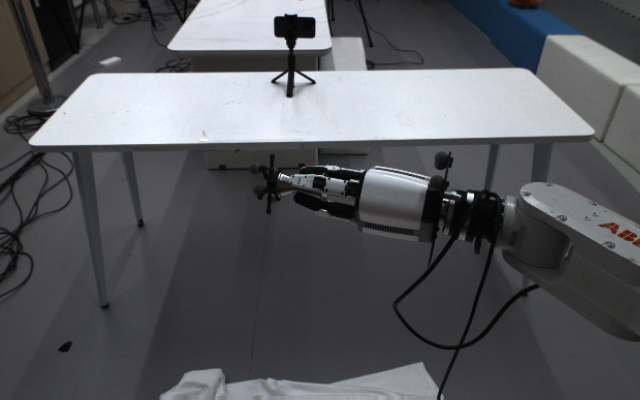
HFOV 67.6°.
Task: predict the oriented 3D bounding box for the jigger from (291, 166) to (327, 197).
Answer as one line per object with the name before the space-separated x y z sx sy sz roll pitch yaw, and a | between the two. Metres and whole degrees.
jigger | -0.017 -0.025 0.705 0.071 0.043 0.043 2 34 16
